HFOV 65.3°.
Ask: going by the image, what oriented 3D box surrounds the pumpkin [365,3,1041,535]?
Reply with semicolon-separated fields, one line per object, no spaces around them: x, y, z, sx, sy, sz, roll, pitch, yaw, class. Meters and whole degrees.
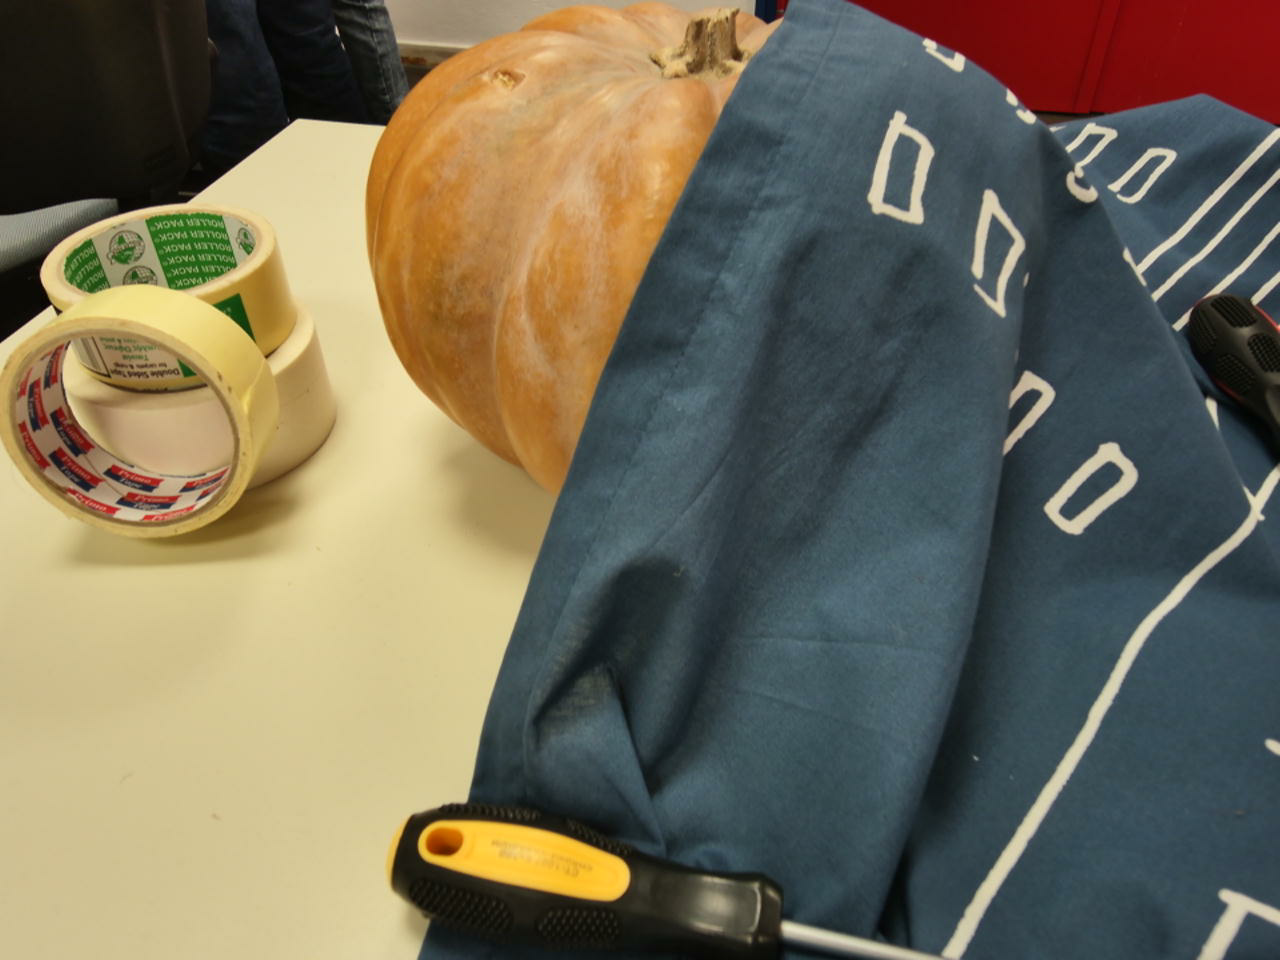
0.023;-0.095;0.412;0.277;0.181;0.277;0;38;0;pumpkin
